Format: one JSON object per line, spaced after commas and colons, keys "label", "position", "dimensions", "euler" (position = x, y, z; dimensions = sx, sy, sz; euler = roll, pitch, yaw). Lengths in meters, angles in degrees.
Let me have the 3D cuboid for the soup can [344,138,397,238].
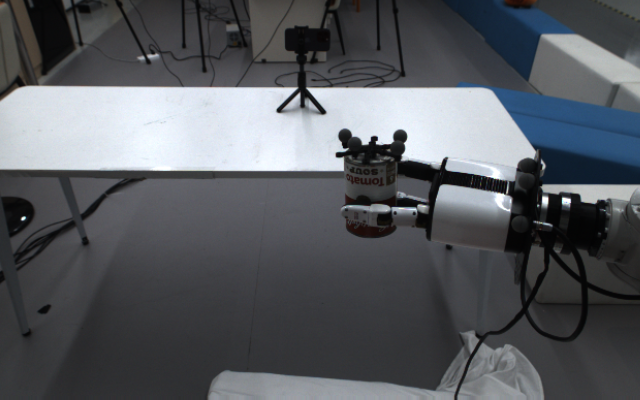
{"label": "soup can", "position": [0.067, -0.013, 0.616], "dimensions": [0.067, 0.101, 0.067], "euler": [-3, 27, 2]}
